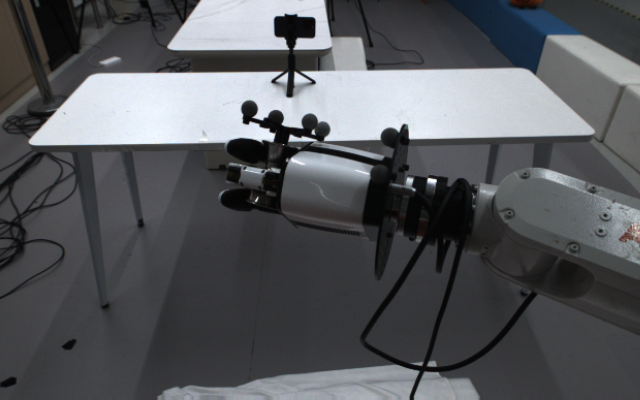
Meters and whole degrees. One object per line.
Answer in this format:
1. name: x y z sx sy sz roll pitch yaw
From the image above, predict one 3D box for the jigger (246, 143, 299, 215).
1. jigger: -0.050 -0.027 0.523 0.043 0.071 0.043 13 1 0
